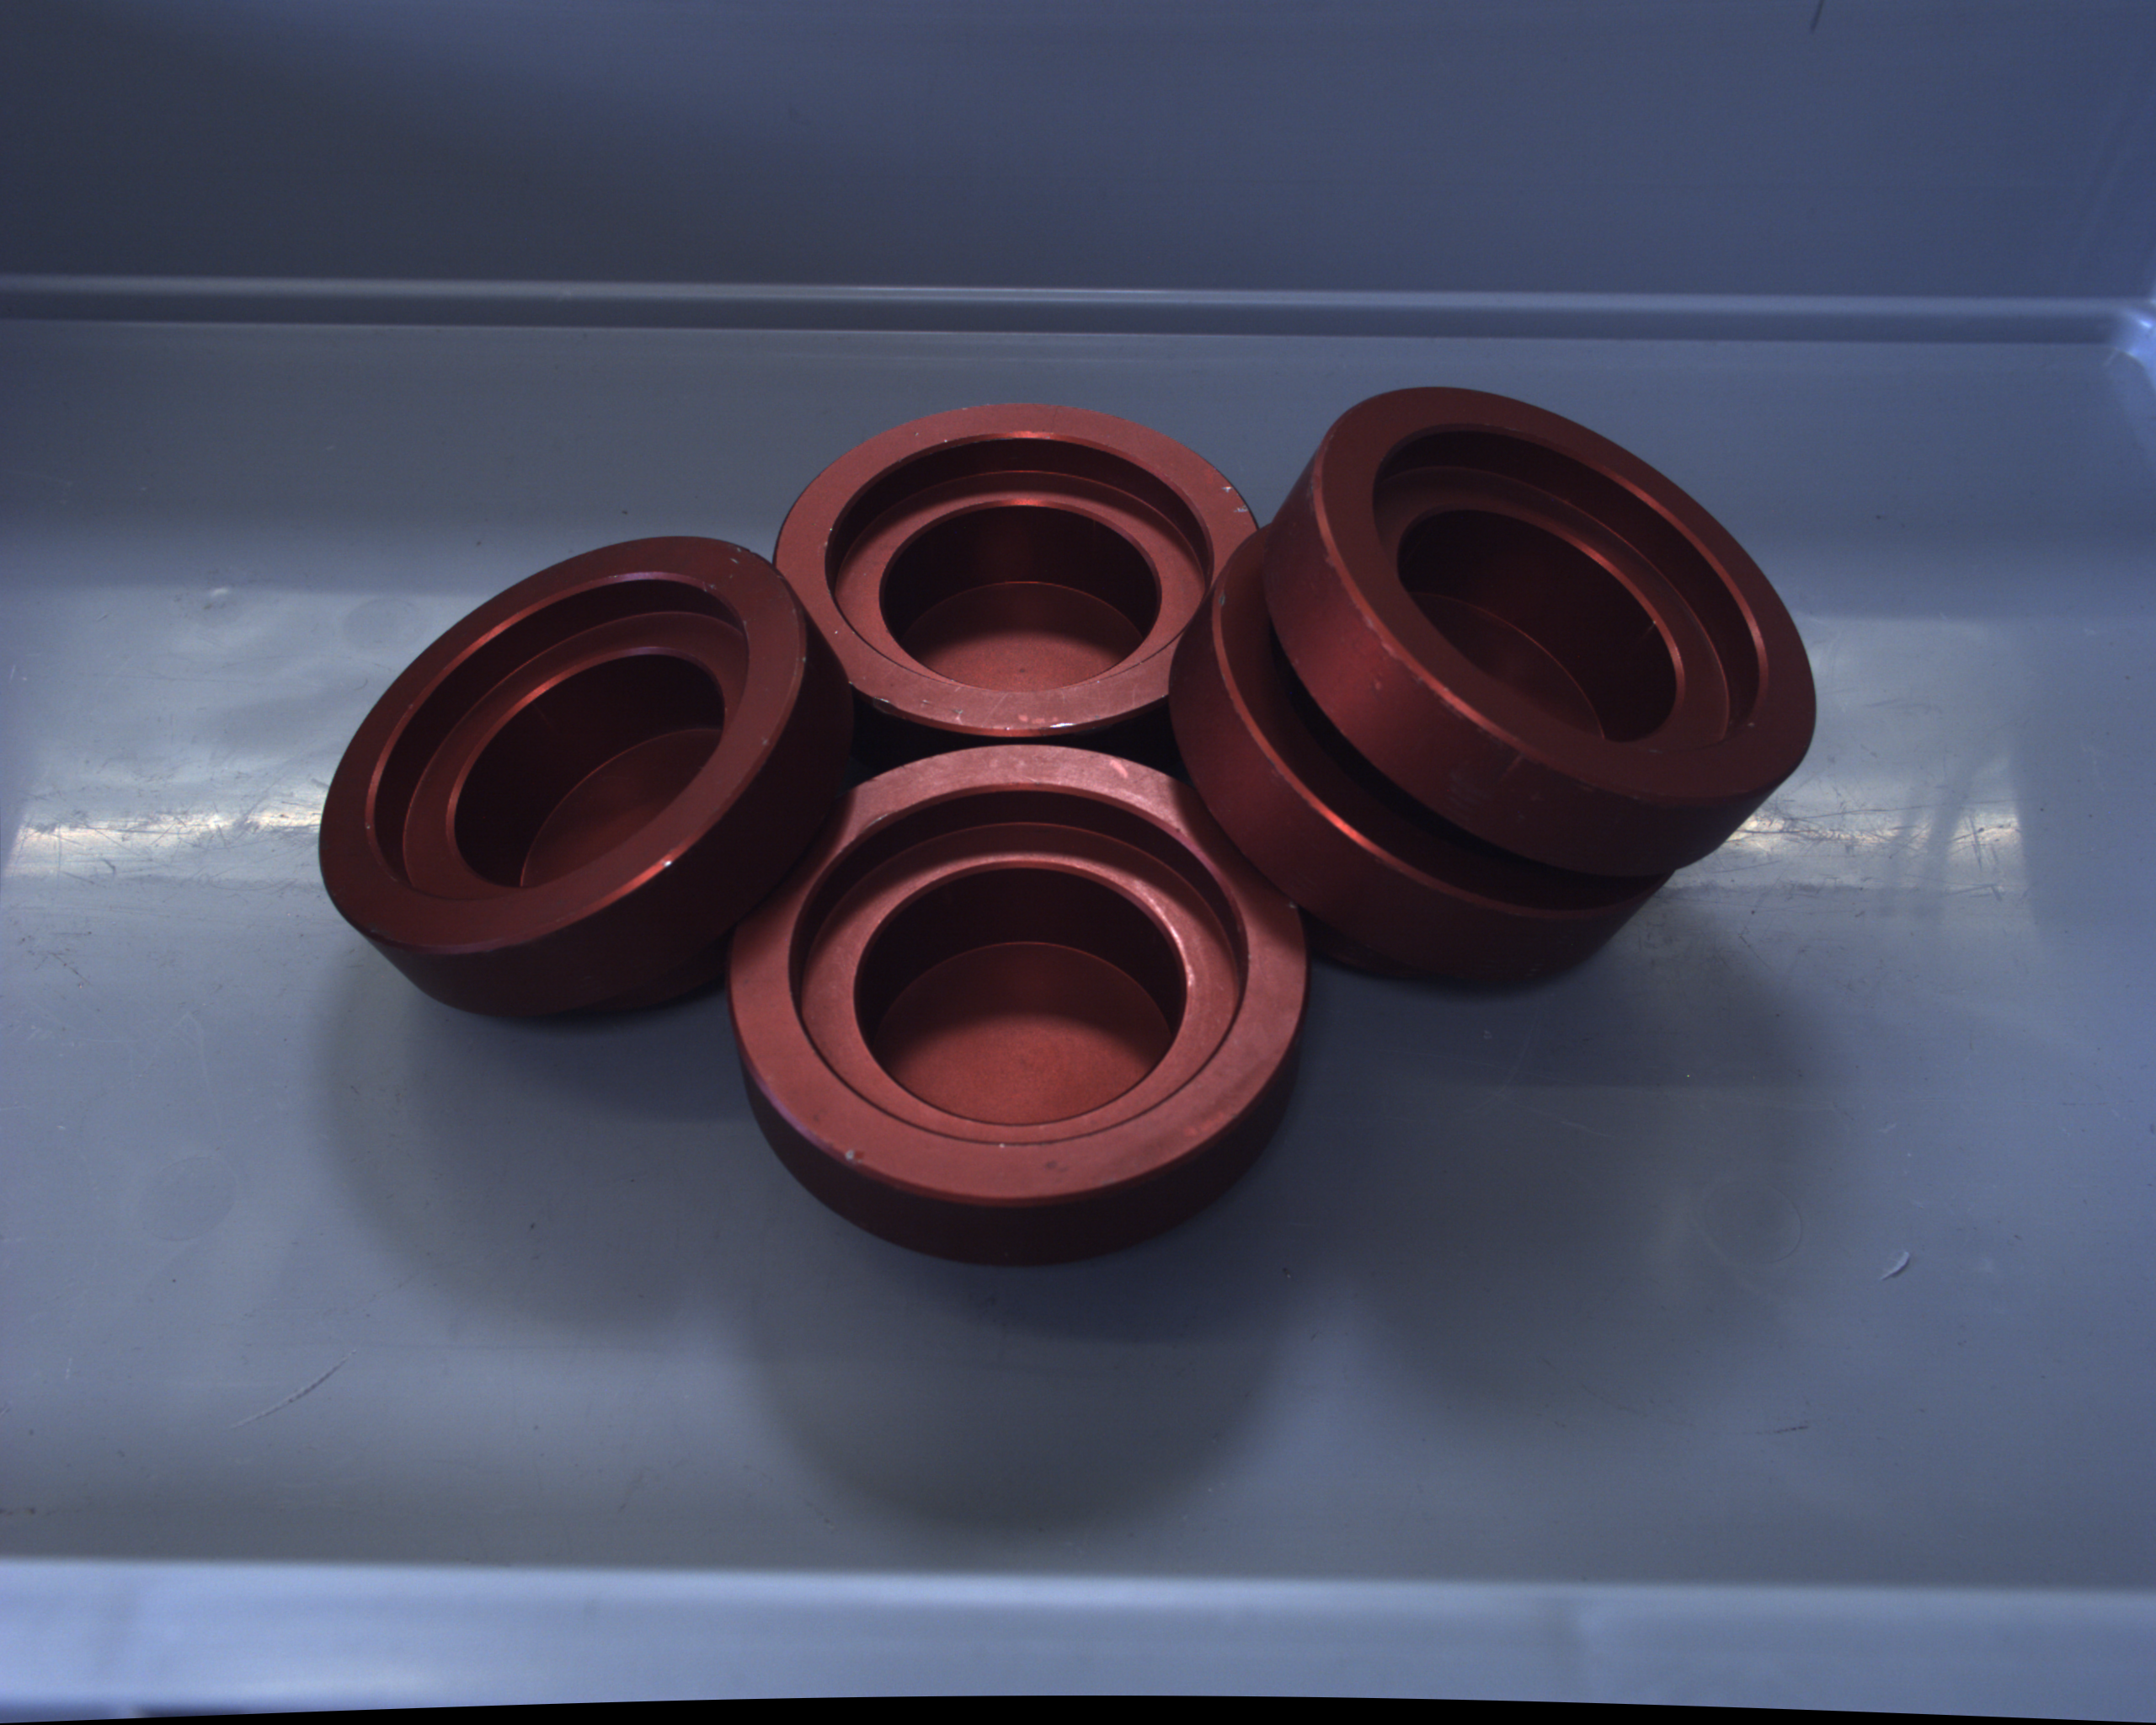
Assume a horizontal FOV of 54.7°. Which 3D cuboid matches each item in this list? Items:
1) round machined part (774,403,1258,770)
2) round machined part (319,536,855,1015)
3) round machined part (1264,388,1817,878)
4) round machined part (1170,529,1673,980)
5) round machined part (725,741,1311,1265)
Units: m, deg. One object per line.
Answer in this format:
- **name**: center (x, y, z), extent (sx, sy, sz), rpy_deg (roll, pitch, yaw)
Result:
- **round machined part**: center (-0.012, -0.048, 0.432), extent (0.099, 0.042, 0.098), rpy_deg (0, 50, 0)
- **round machined part**: center (-0.086, -0.012, 0.388), extent (0.098, 0.042, 0.098), rpy_deg (-13, 48, 16)
- **round machined part**: center (0.077, -0.036, 0.372), extent (0.099, 0.042, 0.098), rpy_deg (15, 48, -17)
- **round machined part**: center (0.062, -0.018, 0.393), extent (0.099, 0.042, 0.098), rpy_deg (15, 47, -17)
- **round machined part**: center (-0.010, 0.028, 0.367), extent (0.099, 0.042, 0.098), rpy_deg (0, 50, 0)
